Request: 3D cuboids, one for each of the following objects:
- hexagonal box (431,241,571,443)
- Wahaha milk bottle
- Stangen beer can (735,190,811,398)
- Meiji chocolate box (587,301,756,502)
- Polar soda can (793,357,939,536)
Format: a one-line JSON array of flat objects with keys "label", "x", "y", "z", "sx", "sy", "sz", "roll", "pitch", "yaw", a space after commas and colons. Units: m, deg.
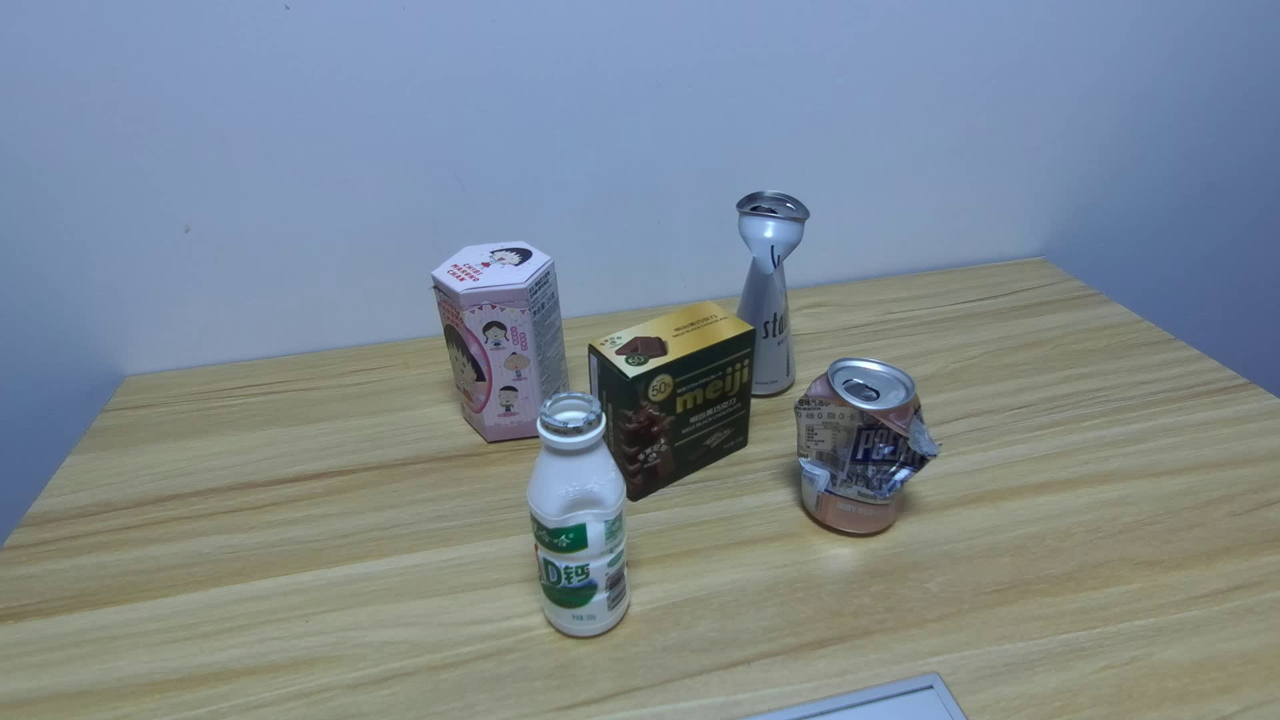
[{"label": "hexagonal box", "x": -0.107, "y": -0.013, "z": 0.558, "sx": 0.084, "sy": 0.136, "sz": 0.091, "roll": -25, "pitch": 39, "yaw": -32}, {"label": "Wahaha milk bottle", "x": -0.033, "y": 0.092, "z": 0.391, "sx": 0.053, "sy": 0.137, "sz": 0.053, "roll": -1, "pitch": 32, "yaw": 1}, {"label": "Stangen beer can", "x": 0.102, "y": -0.051, "z": 0.575, "sx": 0.066, "sy": 0.162, "sz": 0.076, "roll": -17, "pitch": 34, "yaw": -21}, {"label": "Meiji chocolate box", "x": 0.024, "y": 0.028, "z": 0.509, "sx": 0.110, "sy": 0.109, "sz": 0.056, "roll": -21, "pitch": 38, "yaw": -27}, {"label": "Polar soda can", "x": 0.144, "y": 0.056, "z": 0.459, "sx": 0.074, "sy": 0.114, "sz": 0.070, "roll": -16, "pitch": 40, "yaw": -15}]
